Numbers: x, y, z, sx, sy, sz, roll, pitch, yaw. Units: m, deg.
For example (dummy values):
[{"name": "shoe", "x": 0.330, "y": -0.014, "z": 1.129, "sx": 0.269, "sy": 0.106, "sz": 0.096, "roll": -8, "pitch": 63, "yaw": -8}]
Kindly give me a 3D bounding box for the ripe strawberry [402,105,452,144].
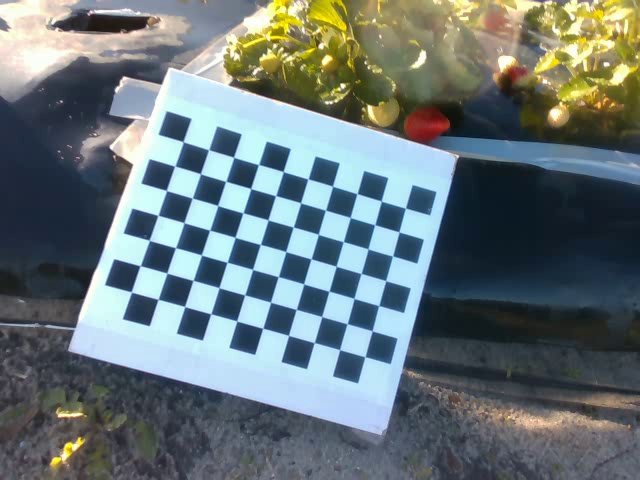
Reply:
[{"name": "ripe strawberry", "x": 0.111, "y": -0.121, "z": 0.577, "sx": 0.048, "sy": 0.045, "sz": 0.063, "roll": 44, "pitch": -8, "yaw": -27}]
